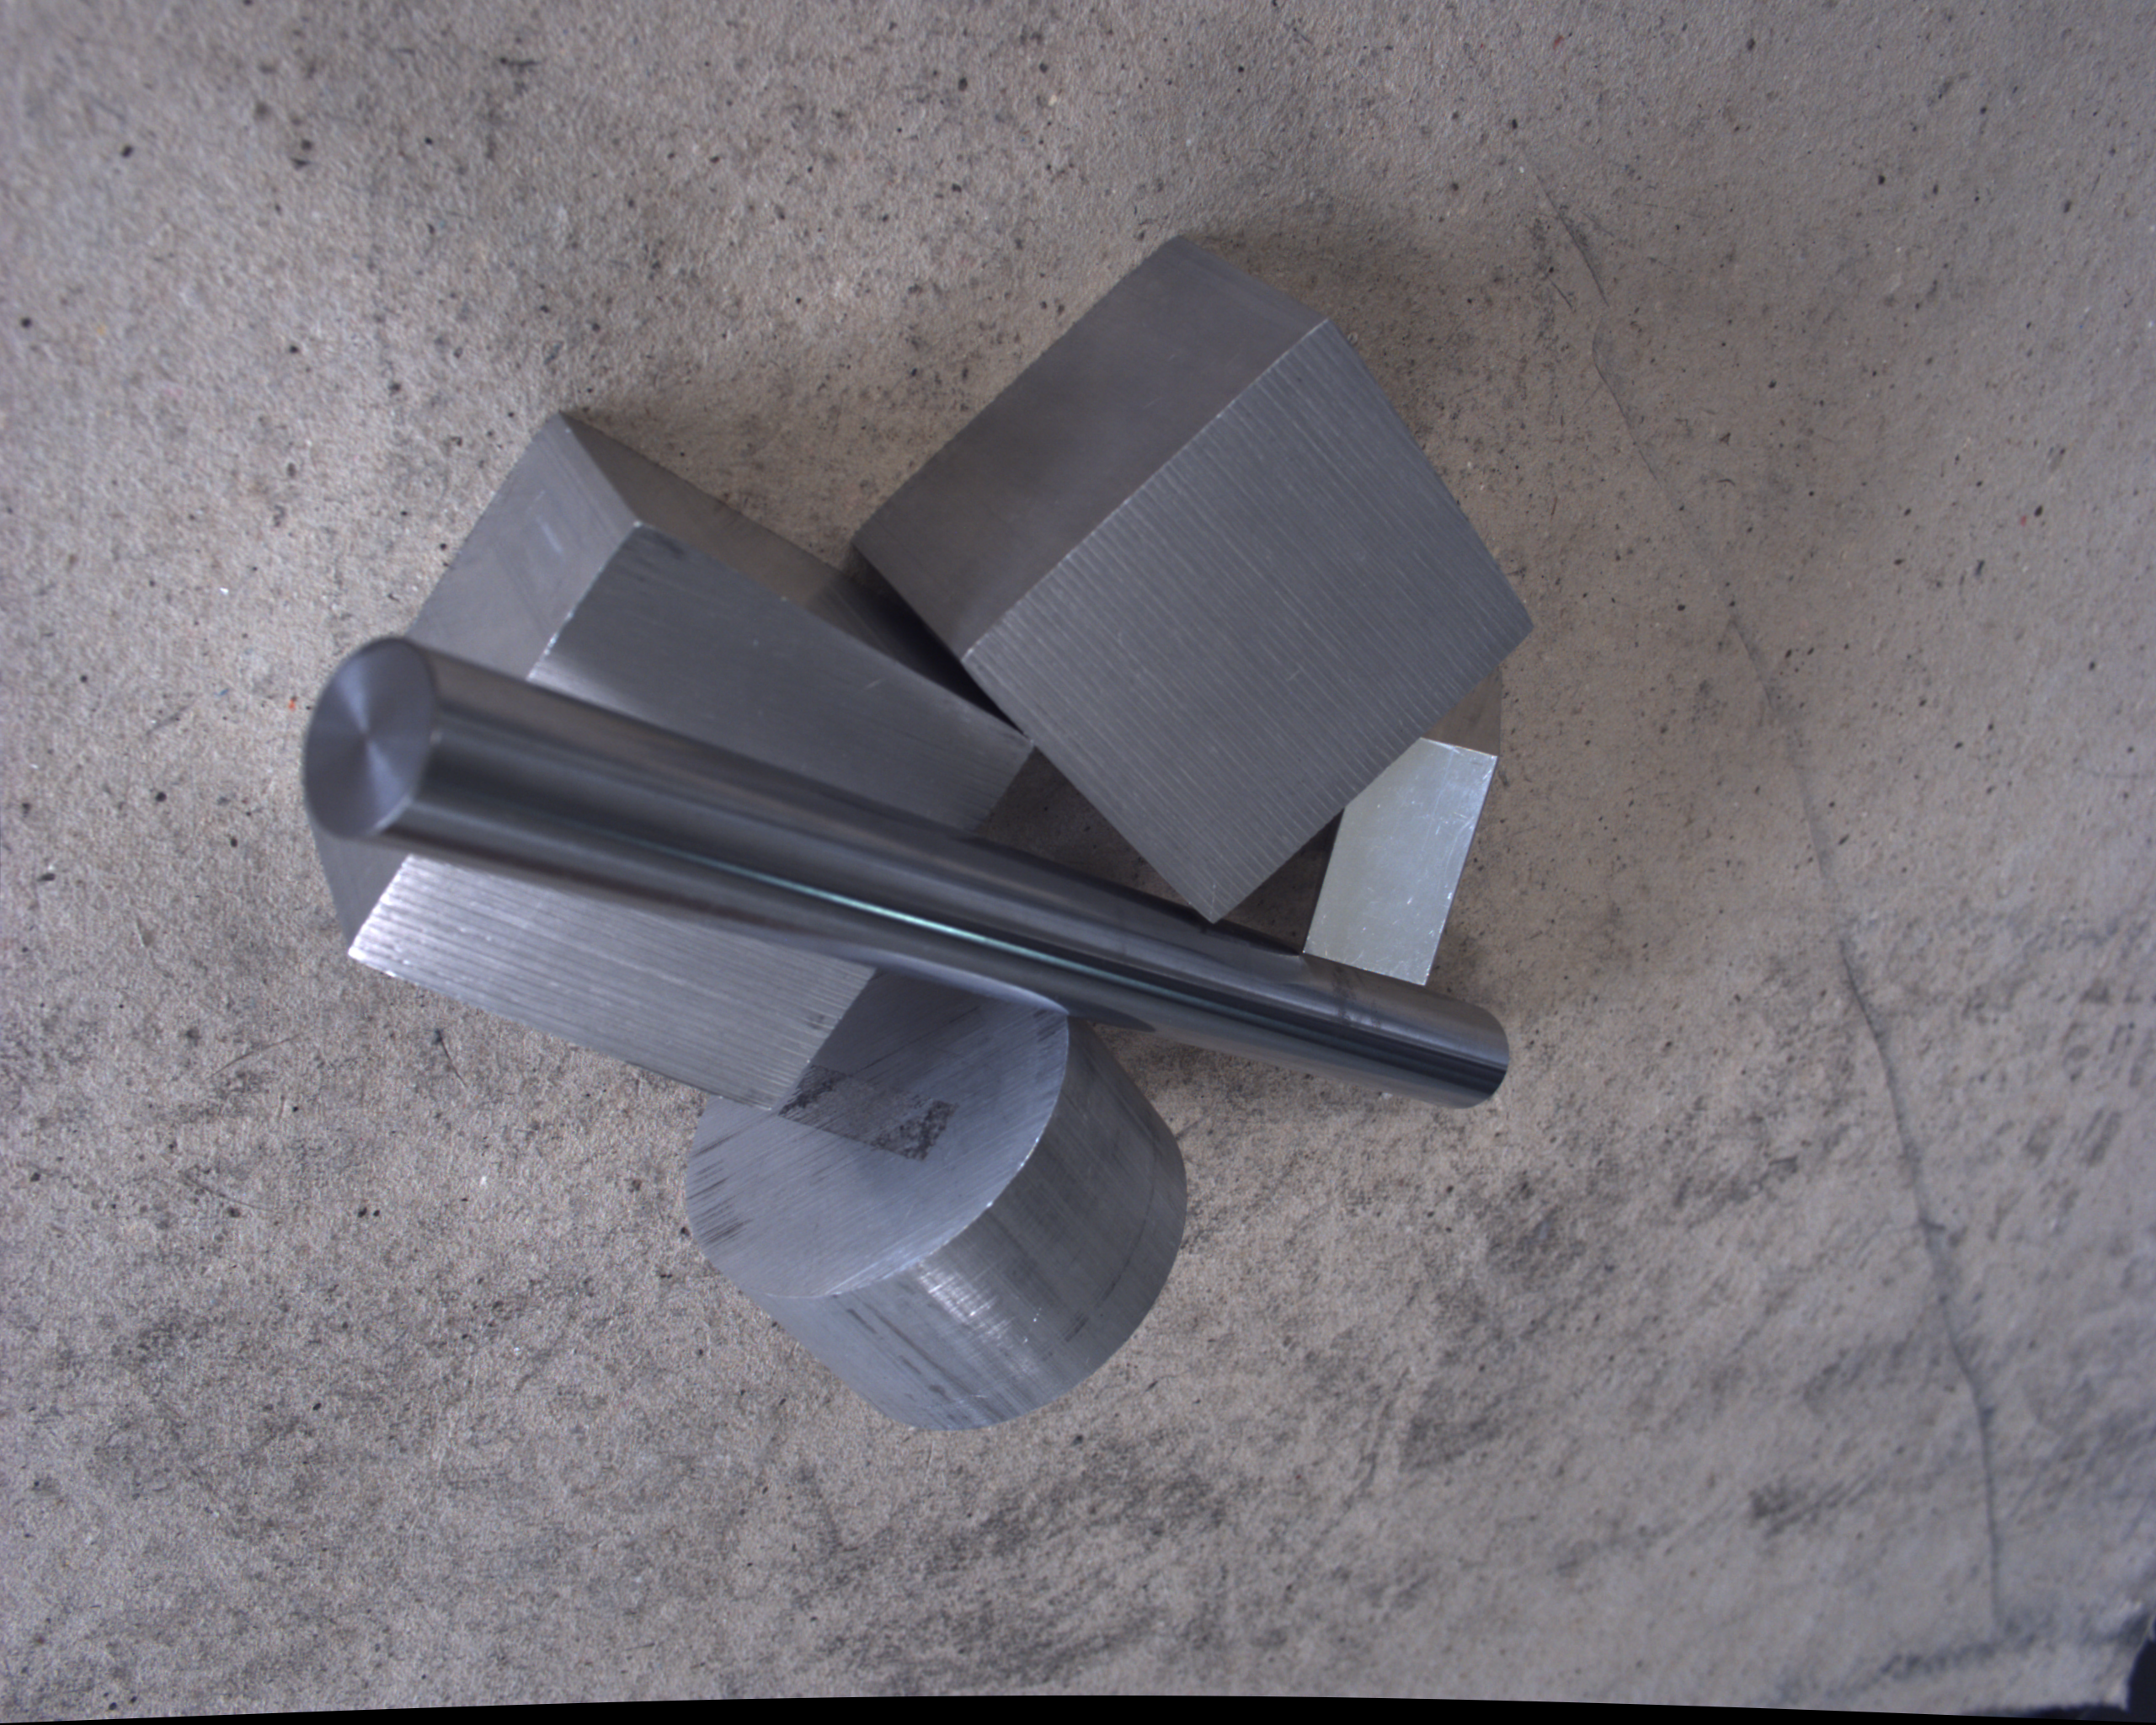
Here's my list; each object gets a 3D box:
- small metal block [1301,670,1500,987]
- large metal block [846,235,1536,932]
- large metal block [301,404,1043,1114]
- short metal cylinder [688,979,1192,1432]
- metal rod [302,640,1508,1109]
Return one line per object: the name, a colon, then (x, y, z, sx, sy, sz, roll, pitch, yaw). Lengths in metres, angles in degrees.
small metal block: (0.065, -0.011, 0.418, 0.025, 0.050, 0.050, 15, 116, 4)
large metal block: (0.021, -0.048, 0.371, 0.080, 0.050, 0.080, -43, 130, 1)
large metal block: (-0.068, -0.015, 0.346, 0.080, 0.050, 0.080, 28, 103, -38)
short metal cylinder: (-0.025, 0.059, 0.395, 0.080, 0.080, 0.050, -38, 130, -3)
metal rod: (0.002, 0.015, 0.366, 0.301, 0.025, 0.025, 19, 109, -53)
